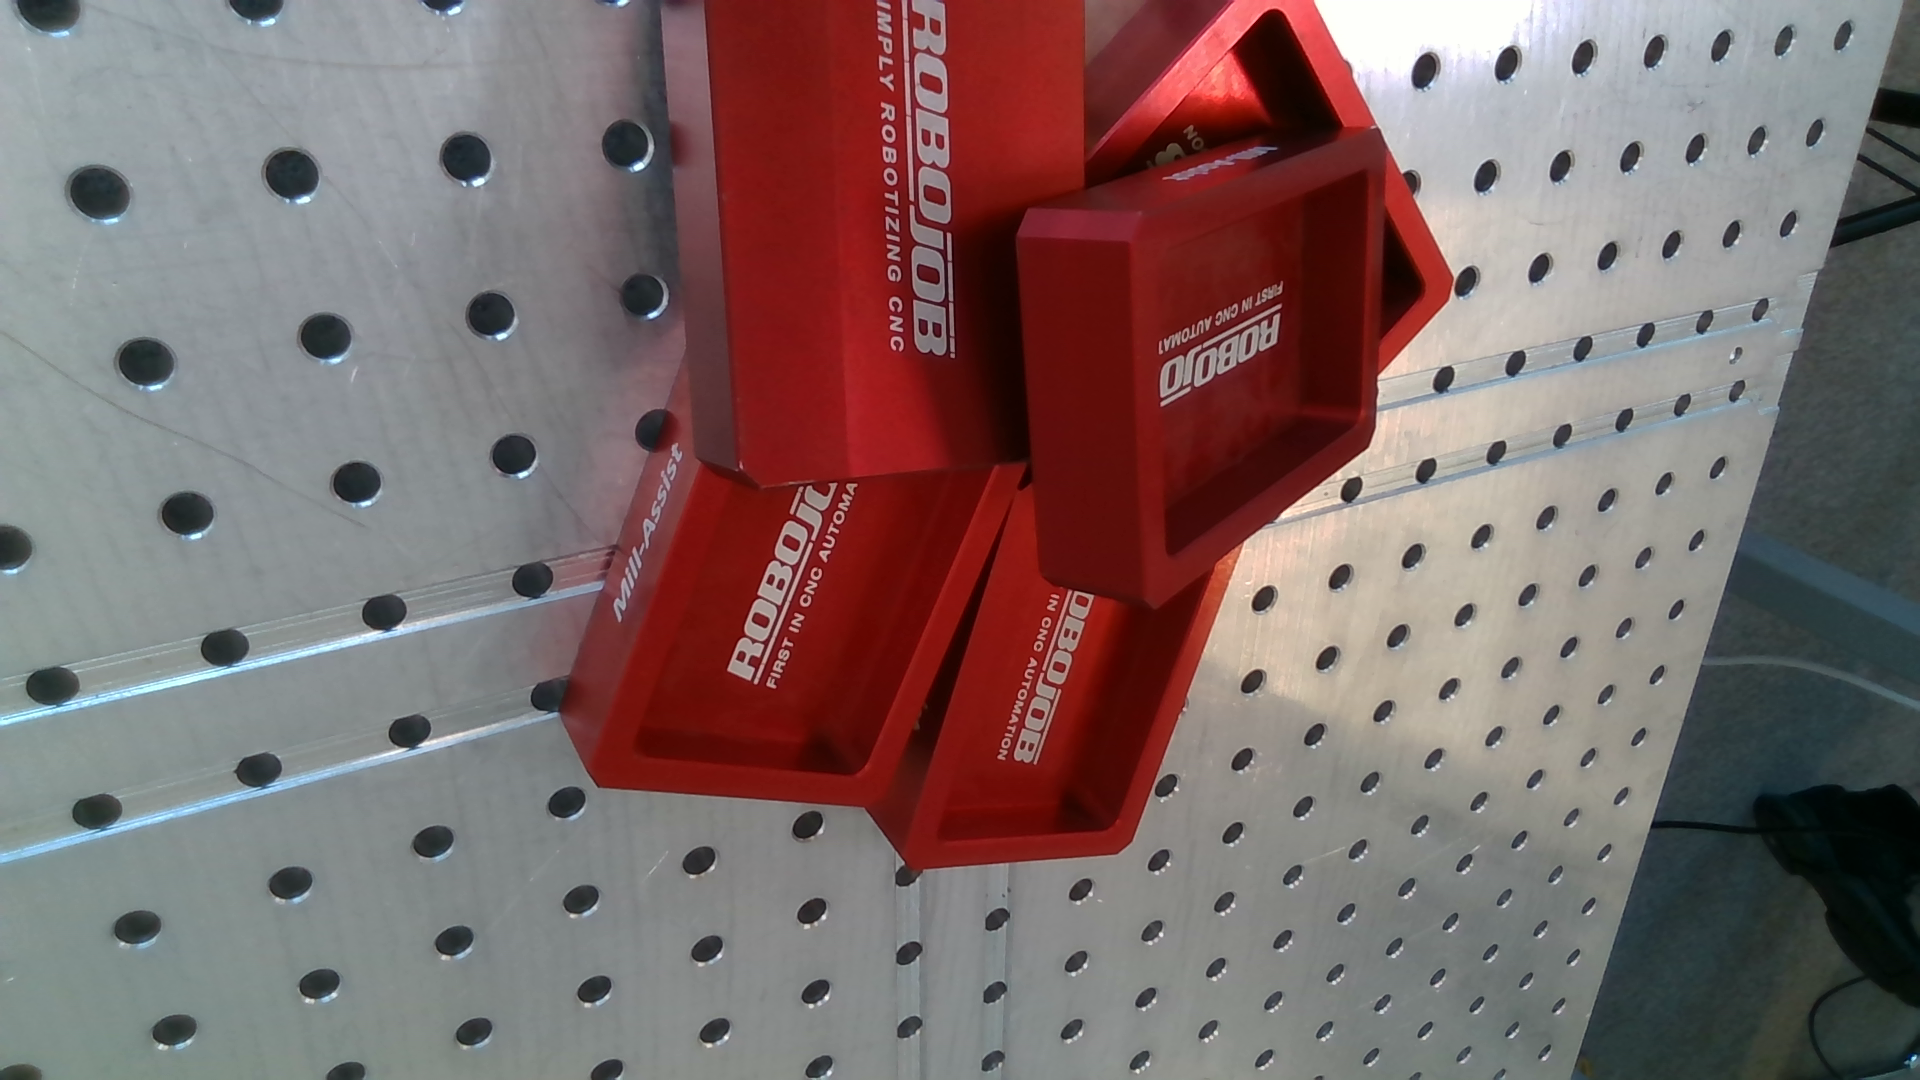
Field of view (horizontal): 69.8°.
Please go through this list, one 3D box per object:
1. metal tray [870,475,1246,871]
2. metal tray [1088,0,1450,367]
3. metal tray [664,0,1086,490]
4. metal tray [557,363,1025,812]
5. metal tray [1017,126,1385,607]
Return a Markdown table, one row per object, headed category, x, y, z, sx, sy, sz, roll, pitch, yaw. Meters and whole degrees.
| category | x | y | z | sx | sy | sz | roll | pitch | yaw |
| --- | --- | --- | --- | --- | --- | --- | --- | --- | --- |
| metal tray | 0.030 | 0.038 | 0.426 | 0.090 | 0.030 | 0.130 | 4 | 112 | -33 |
| metal tray | 0.079 | -0.085 | 0.390 | 0.090 | 0.030 | 0.130 | -48 | 129 | -2 |
| metal tray | -0.017 | -0.081 | 0.313 | 0.090 | 0.030 | 0.130 | -7 | 104 | -28 |
| metal tray | -0.042 | 0.007 | 0.365 | 0.090 | 0.030 | 0.130 | 12 | 108 | -35 |
| metal tray | 0.066 | -0.050 | 0.348 | 0.130 | 0.030 | 0.090 | -30 | 123 | -45 |
